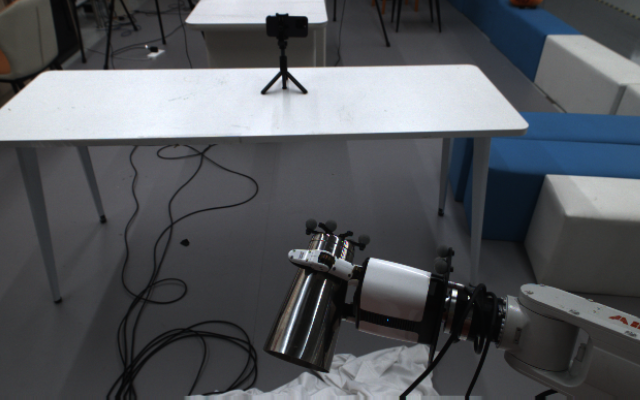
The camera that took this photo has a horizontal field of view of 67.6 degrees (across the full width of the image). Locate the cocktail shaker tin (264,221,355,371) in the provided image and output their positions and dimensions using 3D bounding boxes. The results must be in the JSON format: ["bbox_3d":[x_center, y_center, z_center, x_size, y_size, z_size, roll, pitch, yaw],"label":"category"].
[{"bbox_3d":[-0.003,0.133,0.659,0.093,0.093,0.170,12,65,15],"label":"cocktail shaker tin"}]
